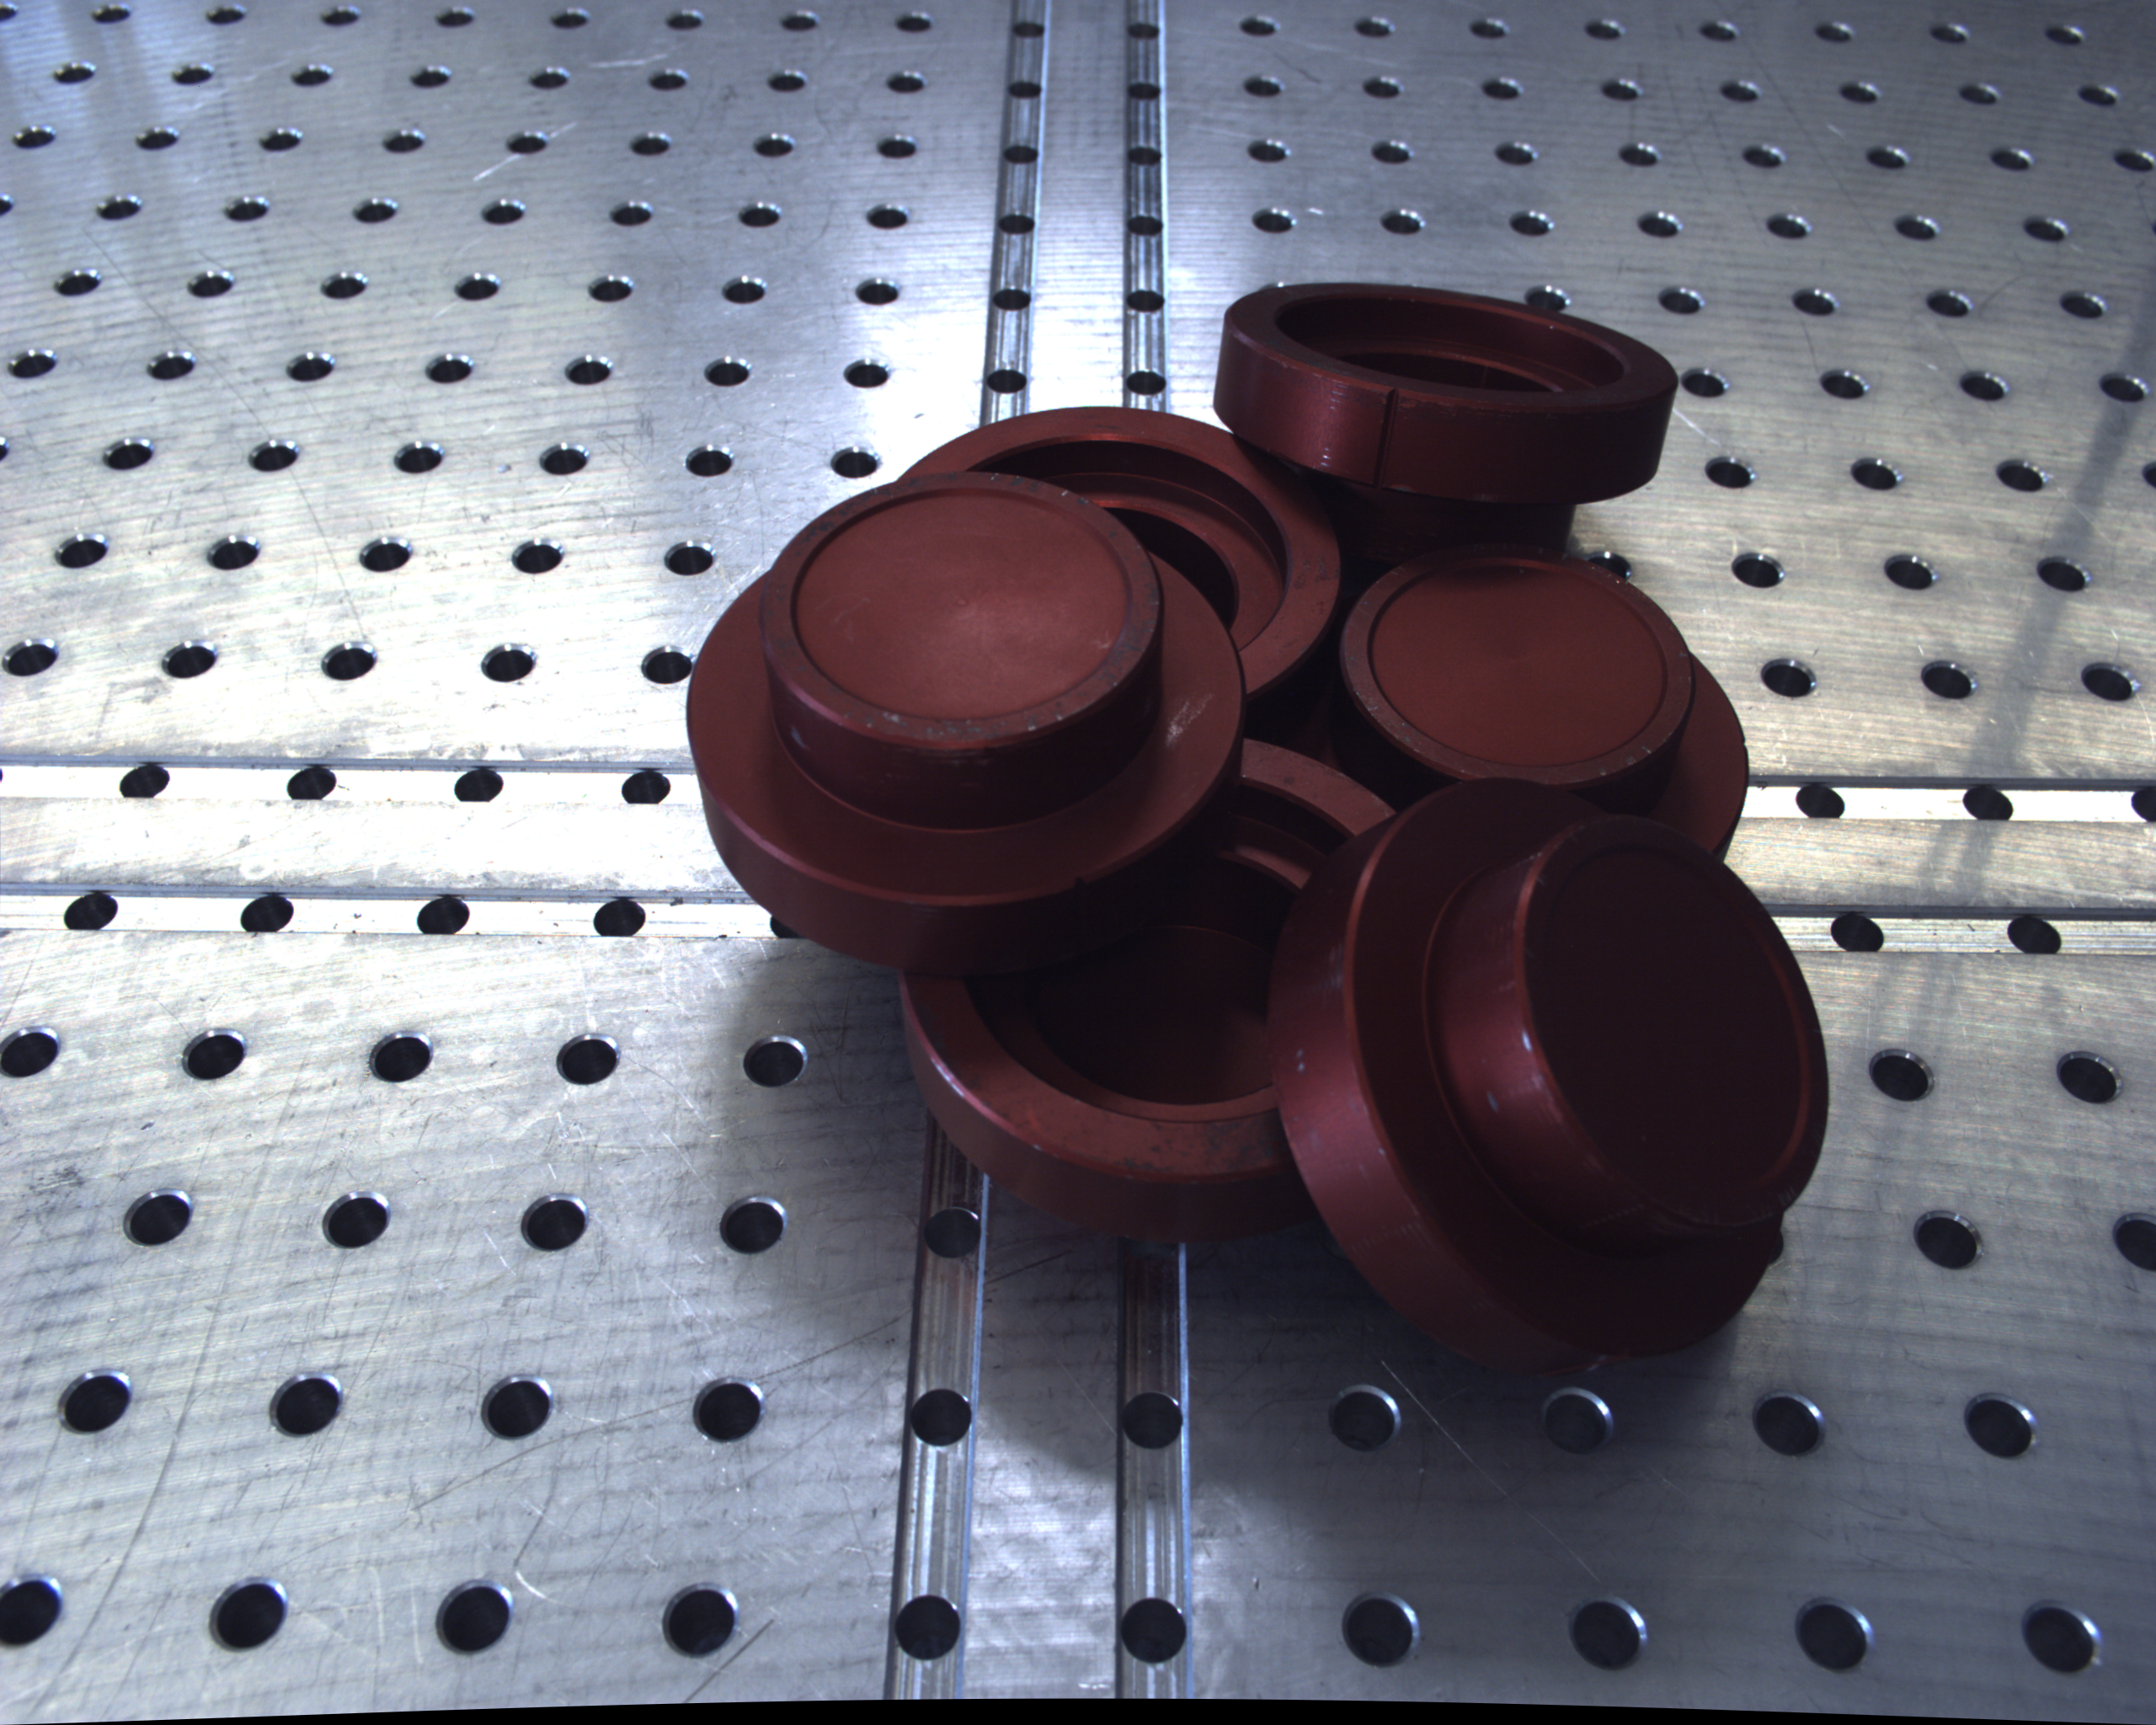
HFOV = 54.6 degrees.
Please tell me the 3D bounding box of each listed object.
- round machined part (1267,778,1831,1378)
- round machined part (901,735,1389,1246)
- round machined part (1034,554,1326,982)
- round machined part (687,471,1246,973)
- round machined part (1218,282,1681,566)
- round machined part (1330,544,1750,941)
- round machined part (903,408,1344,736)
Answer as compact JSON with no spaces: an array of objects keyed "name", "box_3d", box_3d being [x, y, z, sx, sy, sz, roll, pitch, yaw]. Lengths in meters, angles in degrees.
[{"name":"round machined part","box_3d":[0.083,0.031,0.339,0.099,0.042,0.098,15,61,-28]},{"name":"round machined part","box_3d":[0.019,0.026,0.375,0.099,0.042,0.098,0,50,0]},{"name":"round machined part","box_3d":[-0.002,-0.015,0.409,0.099,0.042,0.098,0,50,0]},{"name":"round machined part","box_3d":[-0.020,-0.031,0.368,0.099,0.042,0.098,0,50,0]},{"name":"round machined part","box_3d":[0.079,-0.095,0.463,0.099,0.042,0.098,6,29,-3]},{"name":"round machined part","box_3d":[0.085,-0.026,0.419,0.099,0.042,0.098,0,50,0]},{"name":"round machined part","box_3d":[0.004,-0.049,0.438,0.099,0.042,0.098,0,50,0]}]
